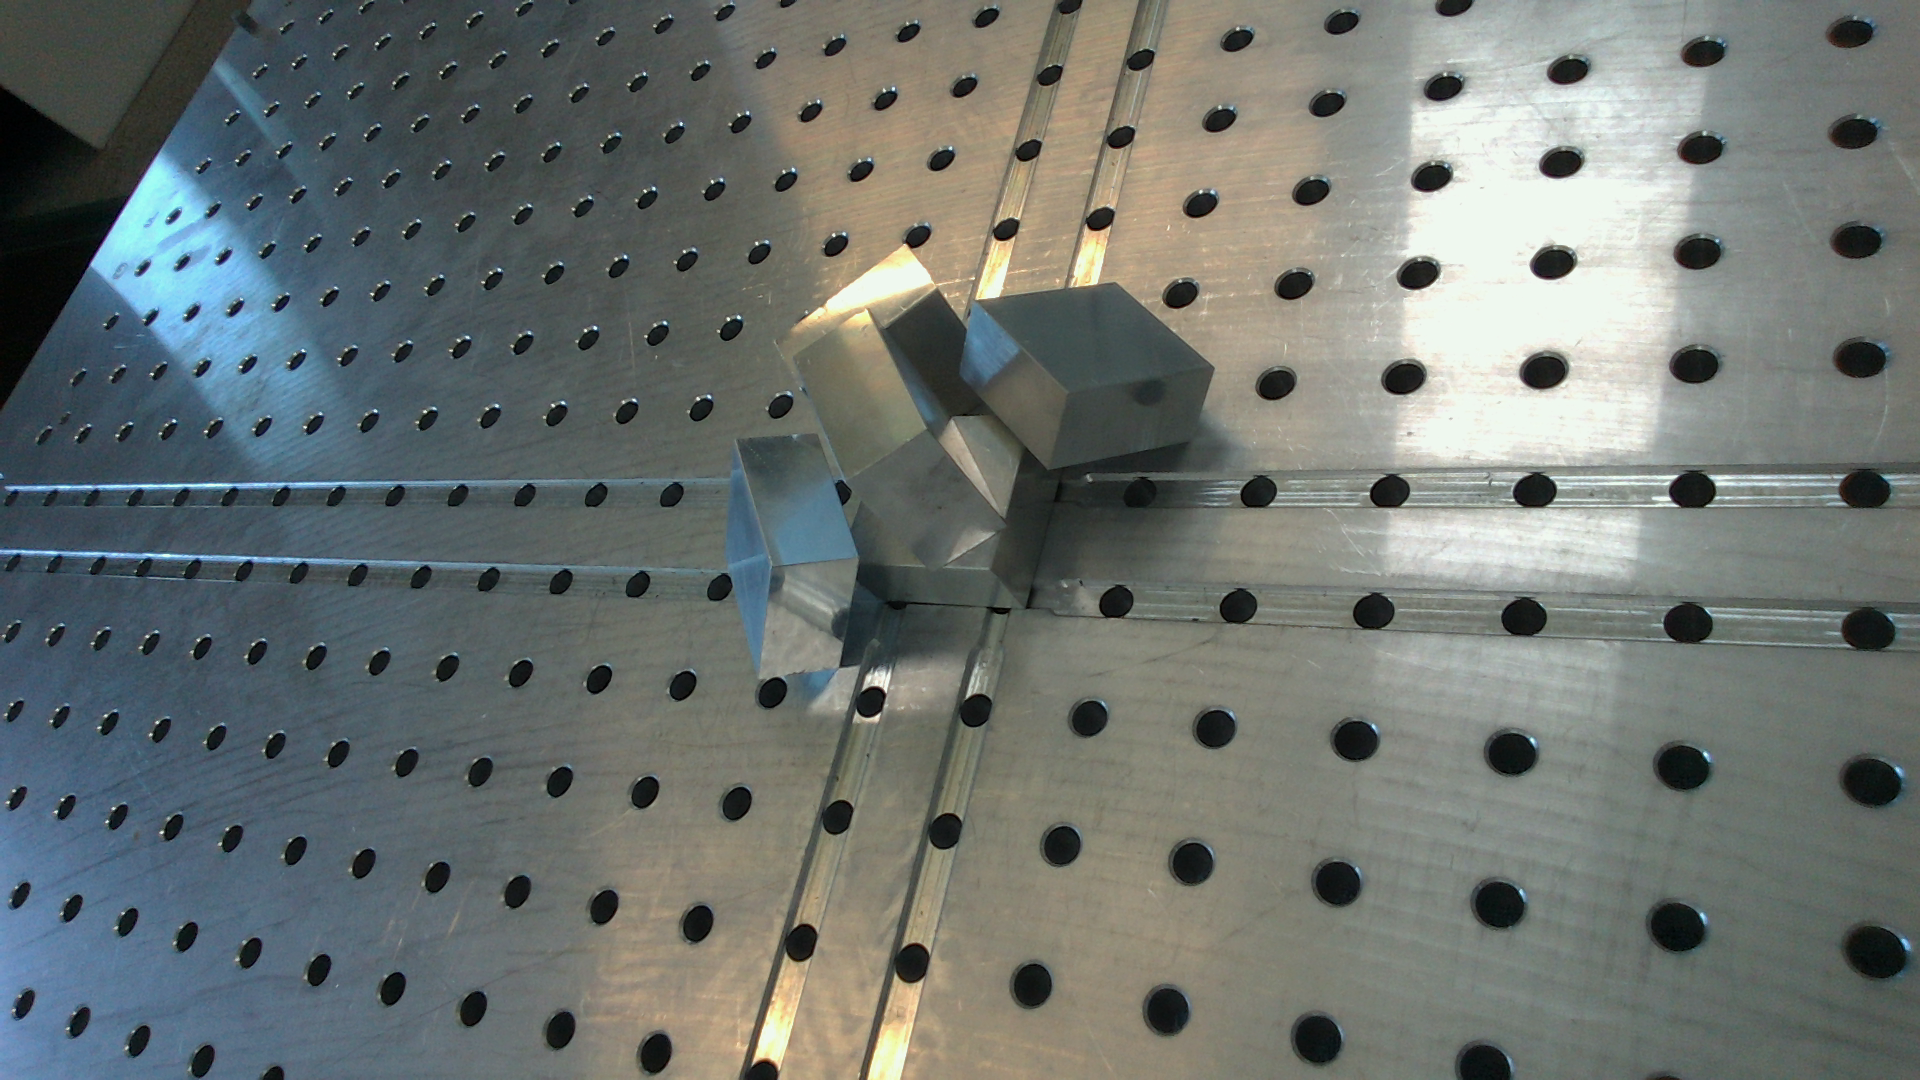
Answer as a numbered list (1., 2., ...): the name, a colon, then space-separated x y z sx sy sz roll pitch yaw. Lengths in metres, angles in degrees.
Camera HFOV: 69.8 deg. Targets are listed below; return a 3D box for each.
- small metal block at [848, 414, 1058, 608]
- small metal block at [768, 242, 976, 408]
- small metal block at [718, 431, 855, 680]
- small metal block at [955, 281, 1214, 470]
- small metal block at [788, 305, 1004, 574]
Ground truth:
1. small metal block: -0.003 -0.009 0.403 0.050 0.025 0.050 1 62 28
2. small metal block: -0.022 -0.055 0.427 0.050 0.050 0.025 -36 51 5
3. small metal block: -0.052 0.004 0.402 0.025 0.050 0.050 -6 49 -20
4. small metal block: 0.034 -0.048 0.391 0.050 0.025 0.050 -12 43 -29
5. small metal block: -0.017 -0.027 0.374 0.025 0.050 0.050 -31 52 8
